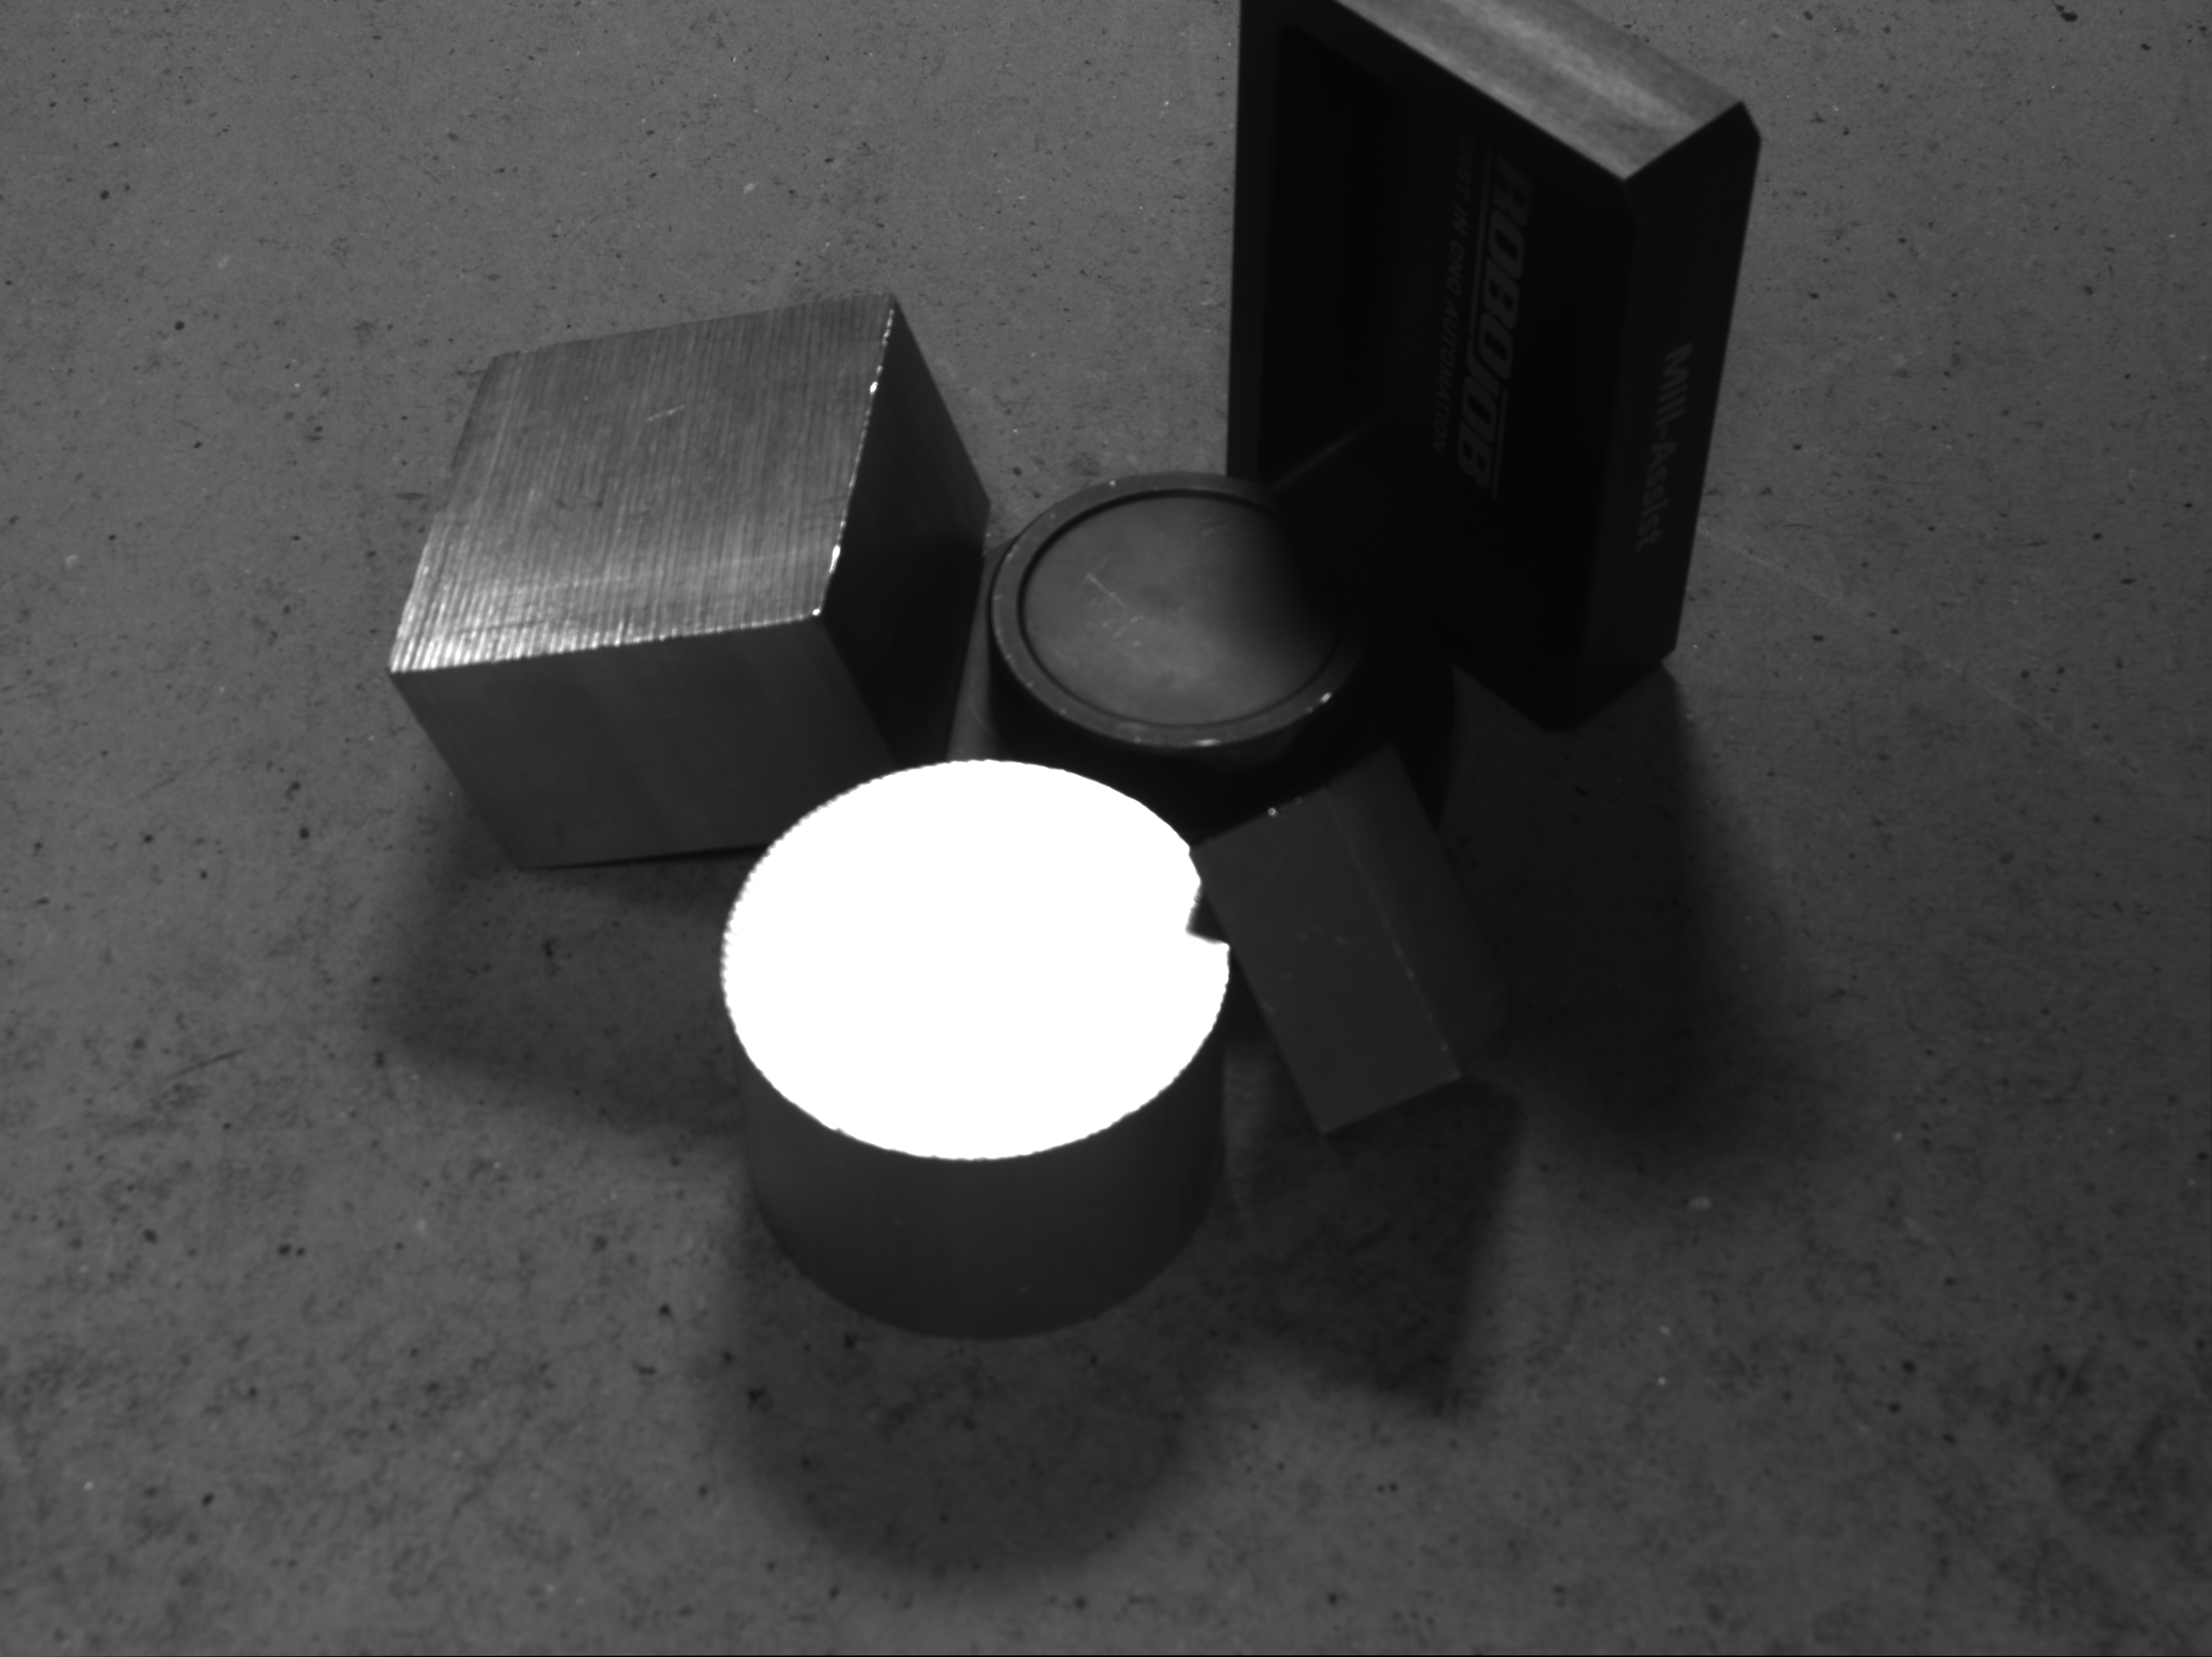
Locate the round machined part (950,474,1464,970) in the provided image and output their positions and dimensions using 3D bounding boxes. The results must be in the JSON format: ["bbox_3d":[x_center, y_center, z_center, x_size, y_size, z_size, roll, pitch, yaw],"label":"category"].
[{"bbox_3d":[0.015,-0.025,0.653,0.098,0.042,0.098,0,50,0],"label":"round machined part"}]

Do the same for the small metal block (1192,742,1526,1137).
[{"bbox_3d":[0.042,0.017,0.597,0.025,0.050,0.050,-25,92,19],"label":"small metal block"}]

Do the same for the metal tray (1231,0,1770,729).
[{"bbox_3d":[0.065,-0.090,0.648,0.030,0.130,0.090,-36,59,-27],"label":"metal tray"}]

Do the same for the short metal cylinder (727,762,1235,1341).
[{"bbox_3d":[-0.020,0.036,0.596,0.080,0.050,0.080,0,50,0],"label":"short metal cylinder"}]

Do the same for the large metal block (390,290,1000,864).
[{"bbox_3d":[-0.070,-0.044,0.647,0.080,0.050,0.080,-6,48,18],"label":"large metal block"}]
